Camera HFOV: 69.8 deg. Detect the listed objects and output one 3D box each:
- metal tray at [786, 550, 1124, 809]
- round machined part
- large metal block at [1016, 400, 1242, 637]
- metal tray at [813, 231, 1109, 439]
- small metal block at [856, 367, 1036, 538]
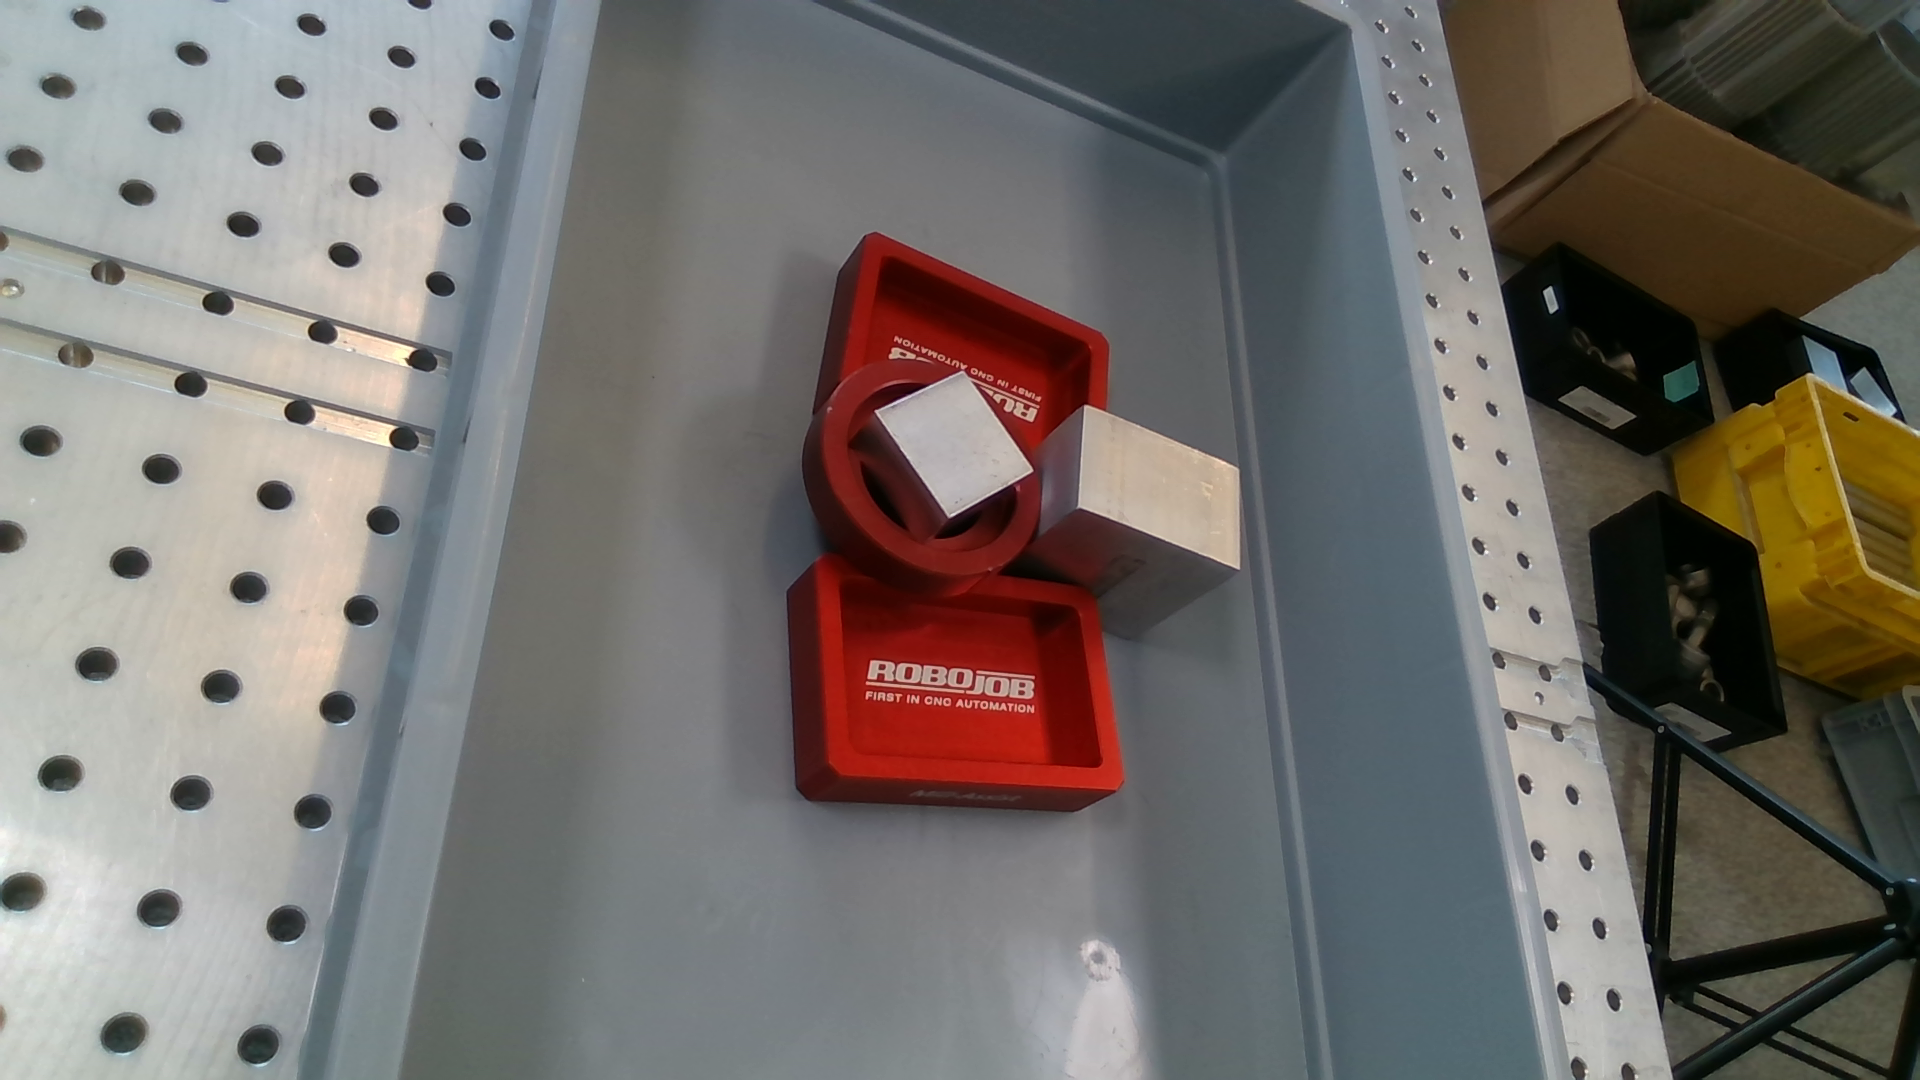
[{"bbox_3d":[-0.002,0.058,0.549,0.130,0.030,0.090,8,61,-28],"label":"metal tray"},{"bbox_3d":[-0.019,-0.022,0.561,0.098,0.042,0.098,14,59,-25],"label":"round machined part"},{"bbox_3d":[0.064,-0.006,0.592,0.080,0.080,0.050,20,56,-21],"label":"large metal block"},{"bbox_3d":[0.004,-0.075,0.623,0.130,0.030,0.090,20,56,-22],"label":"metal tray"},{"bbox_3d":[-0.007,-0.034,0.544,0.050,0.025,0.050,-30,83,-39],"label":"small metal block"}]
